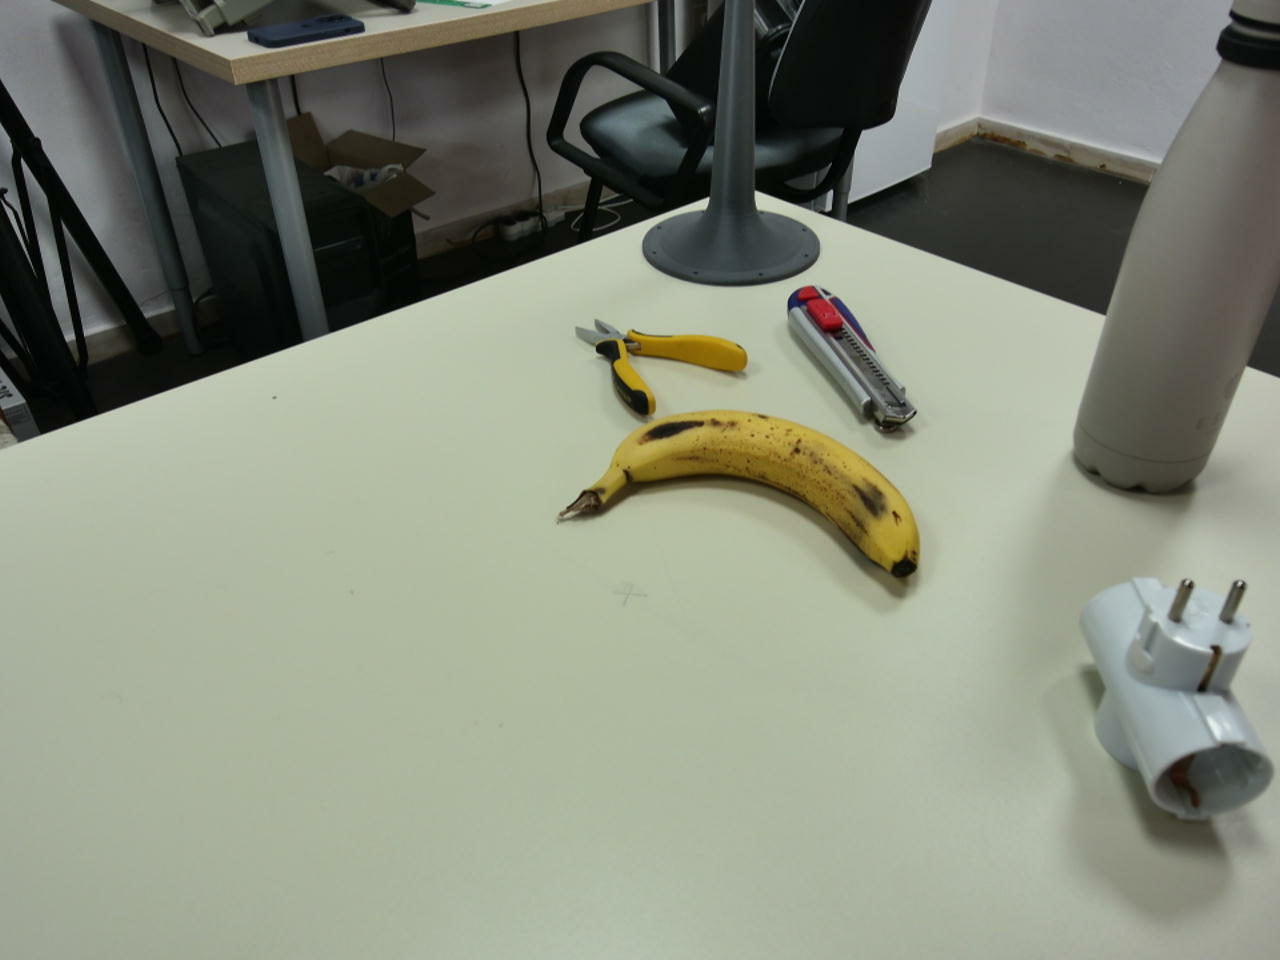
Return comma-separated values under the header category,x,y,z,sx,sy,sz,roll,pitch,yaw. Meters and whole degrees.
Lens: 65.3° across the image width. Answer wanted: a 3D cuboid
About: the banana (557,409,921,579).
category,x,y,z,sx,sy,sz,roll,pitch,yaw
banana,0.064,0.000,0.548,0.186,0.038,0.097,13,38,19
